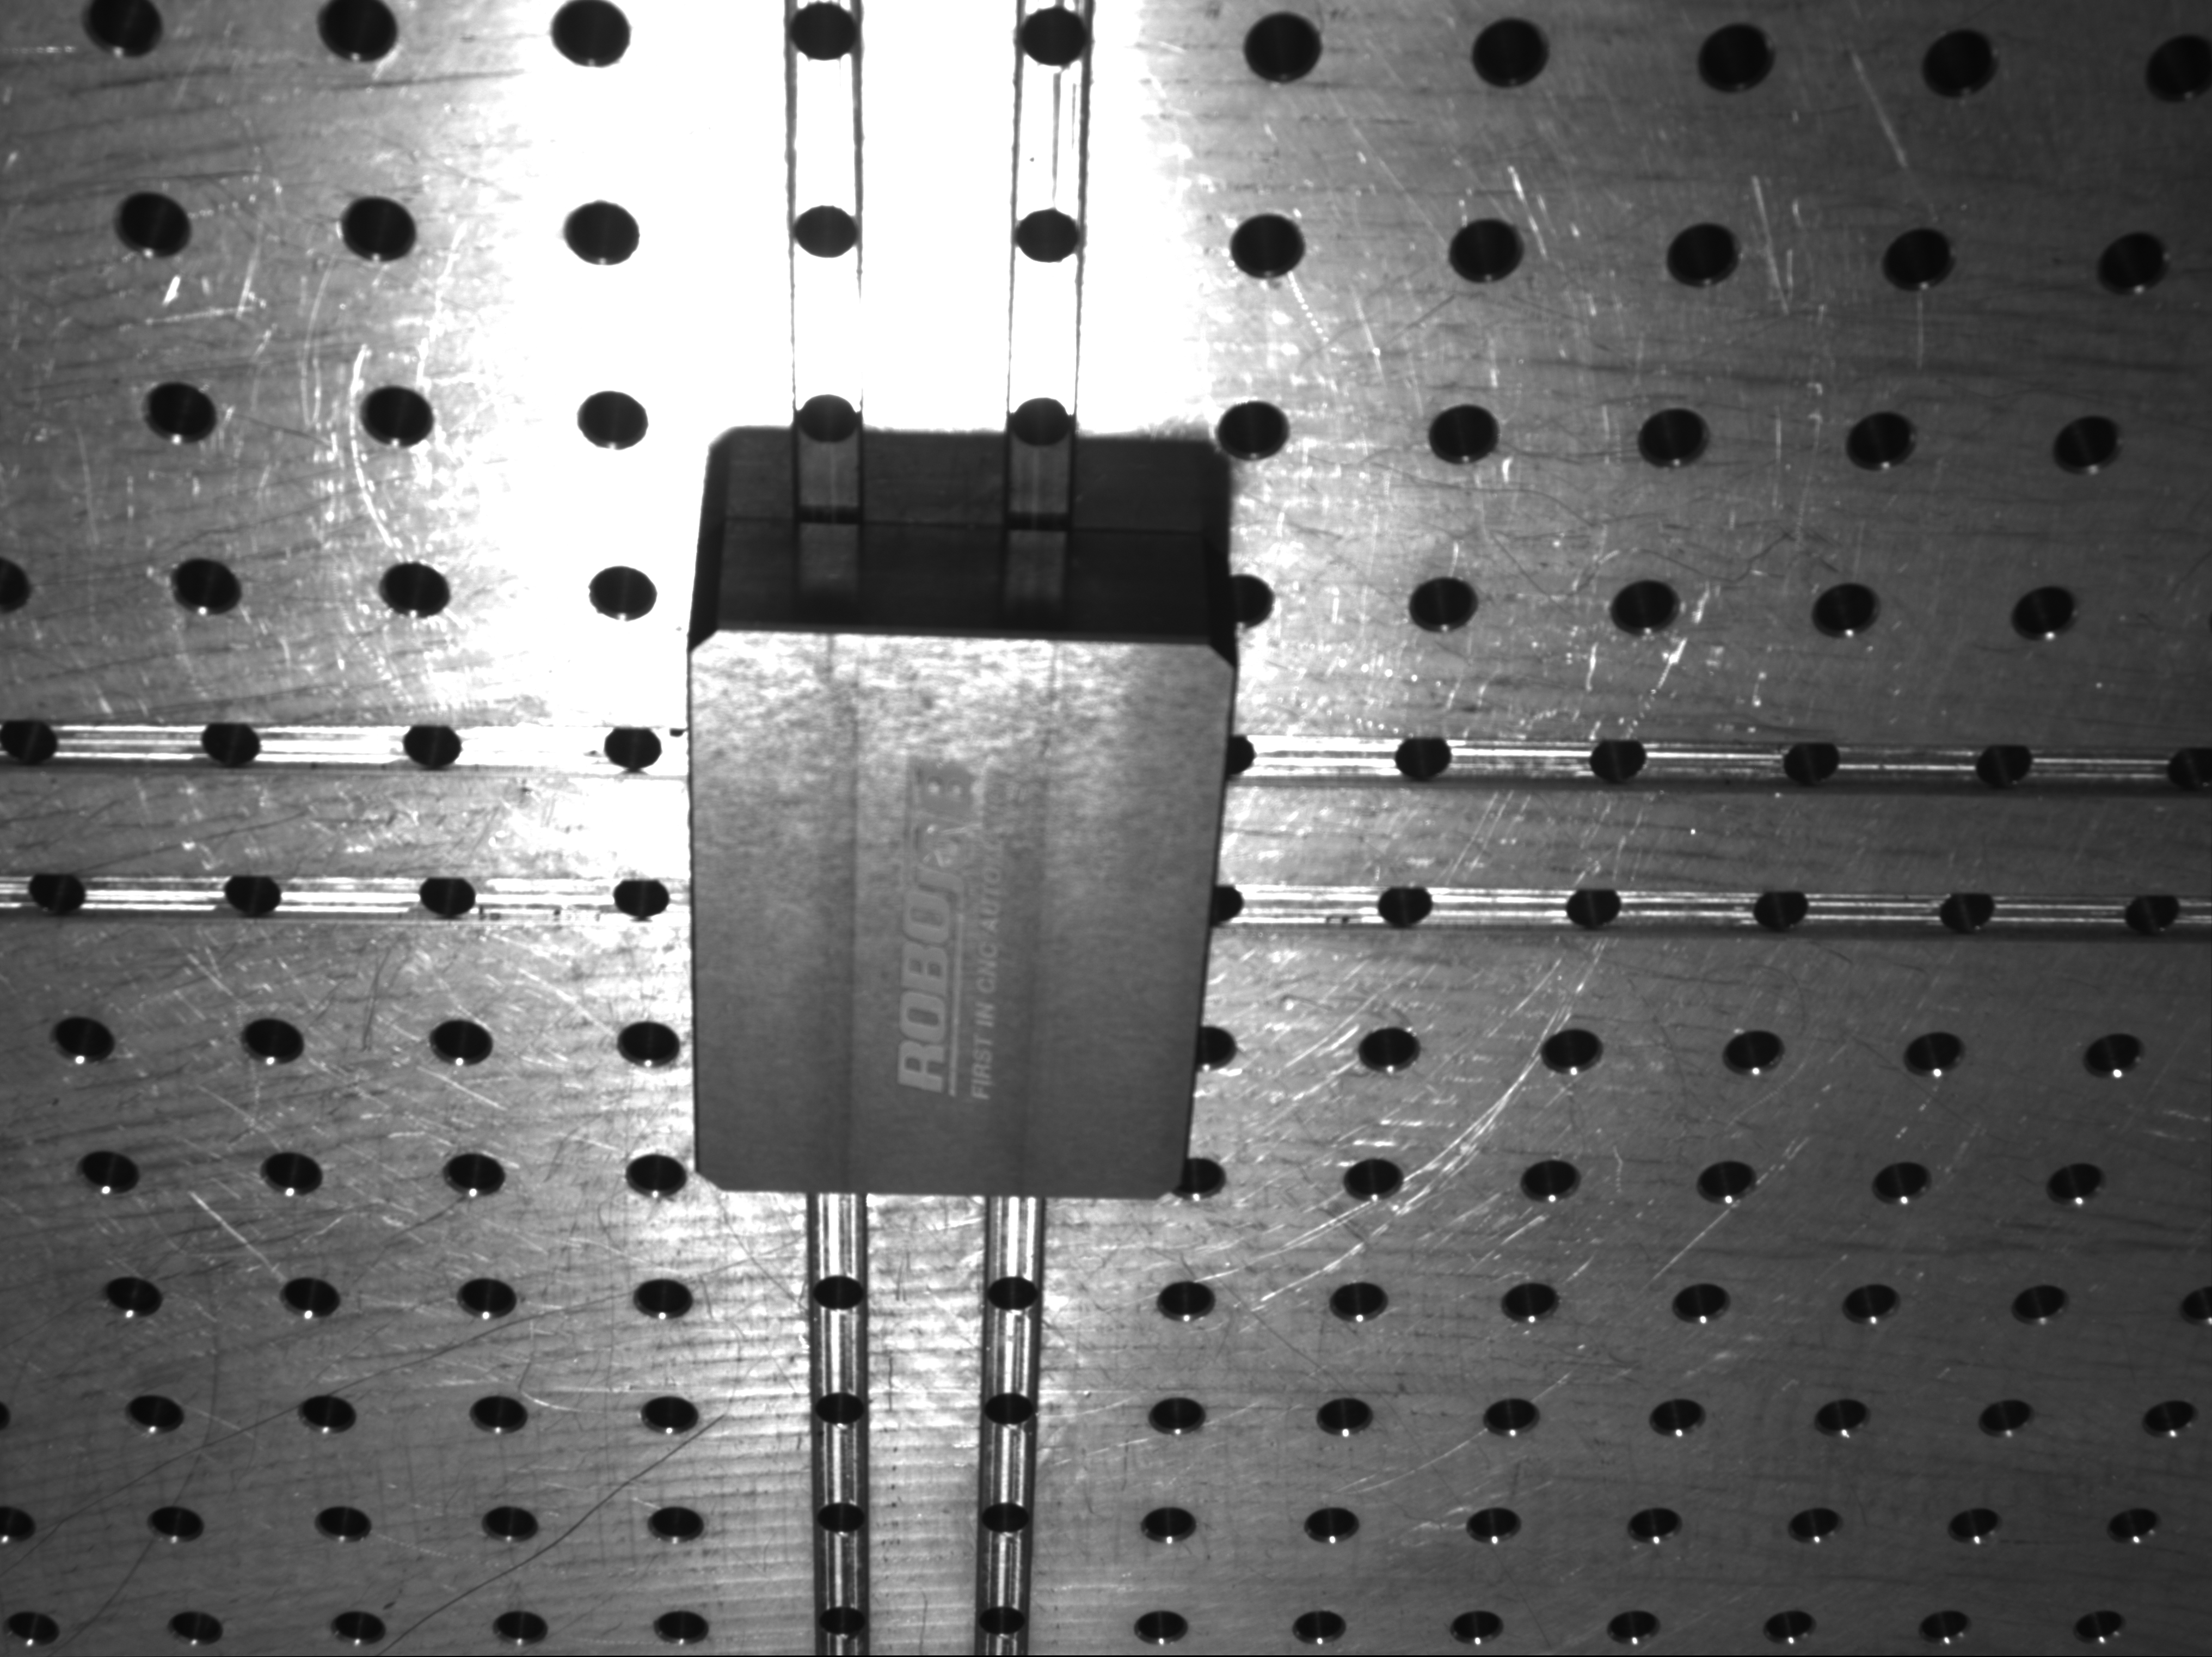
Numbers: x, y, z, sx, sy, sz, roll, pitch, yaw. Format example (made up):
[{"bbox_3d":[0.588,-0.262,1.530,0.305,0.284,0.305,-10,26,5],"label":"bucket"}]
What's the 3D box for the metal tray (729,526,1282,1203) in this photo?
[{"bbox_3d":[-0.020,0.009,0.644,0.090,0.030,0.130,1,130,-3],"label":"metal tray"}]
